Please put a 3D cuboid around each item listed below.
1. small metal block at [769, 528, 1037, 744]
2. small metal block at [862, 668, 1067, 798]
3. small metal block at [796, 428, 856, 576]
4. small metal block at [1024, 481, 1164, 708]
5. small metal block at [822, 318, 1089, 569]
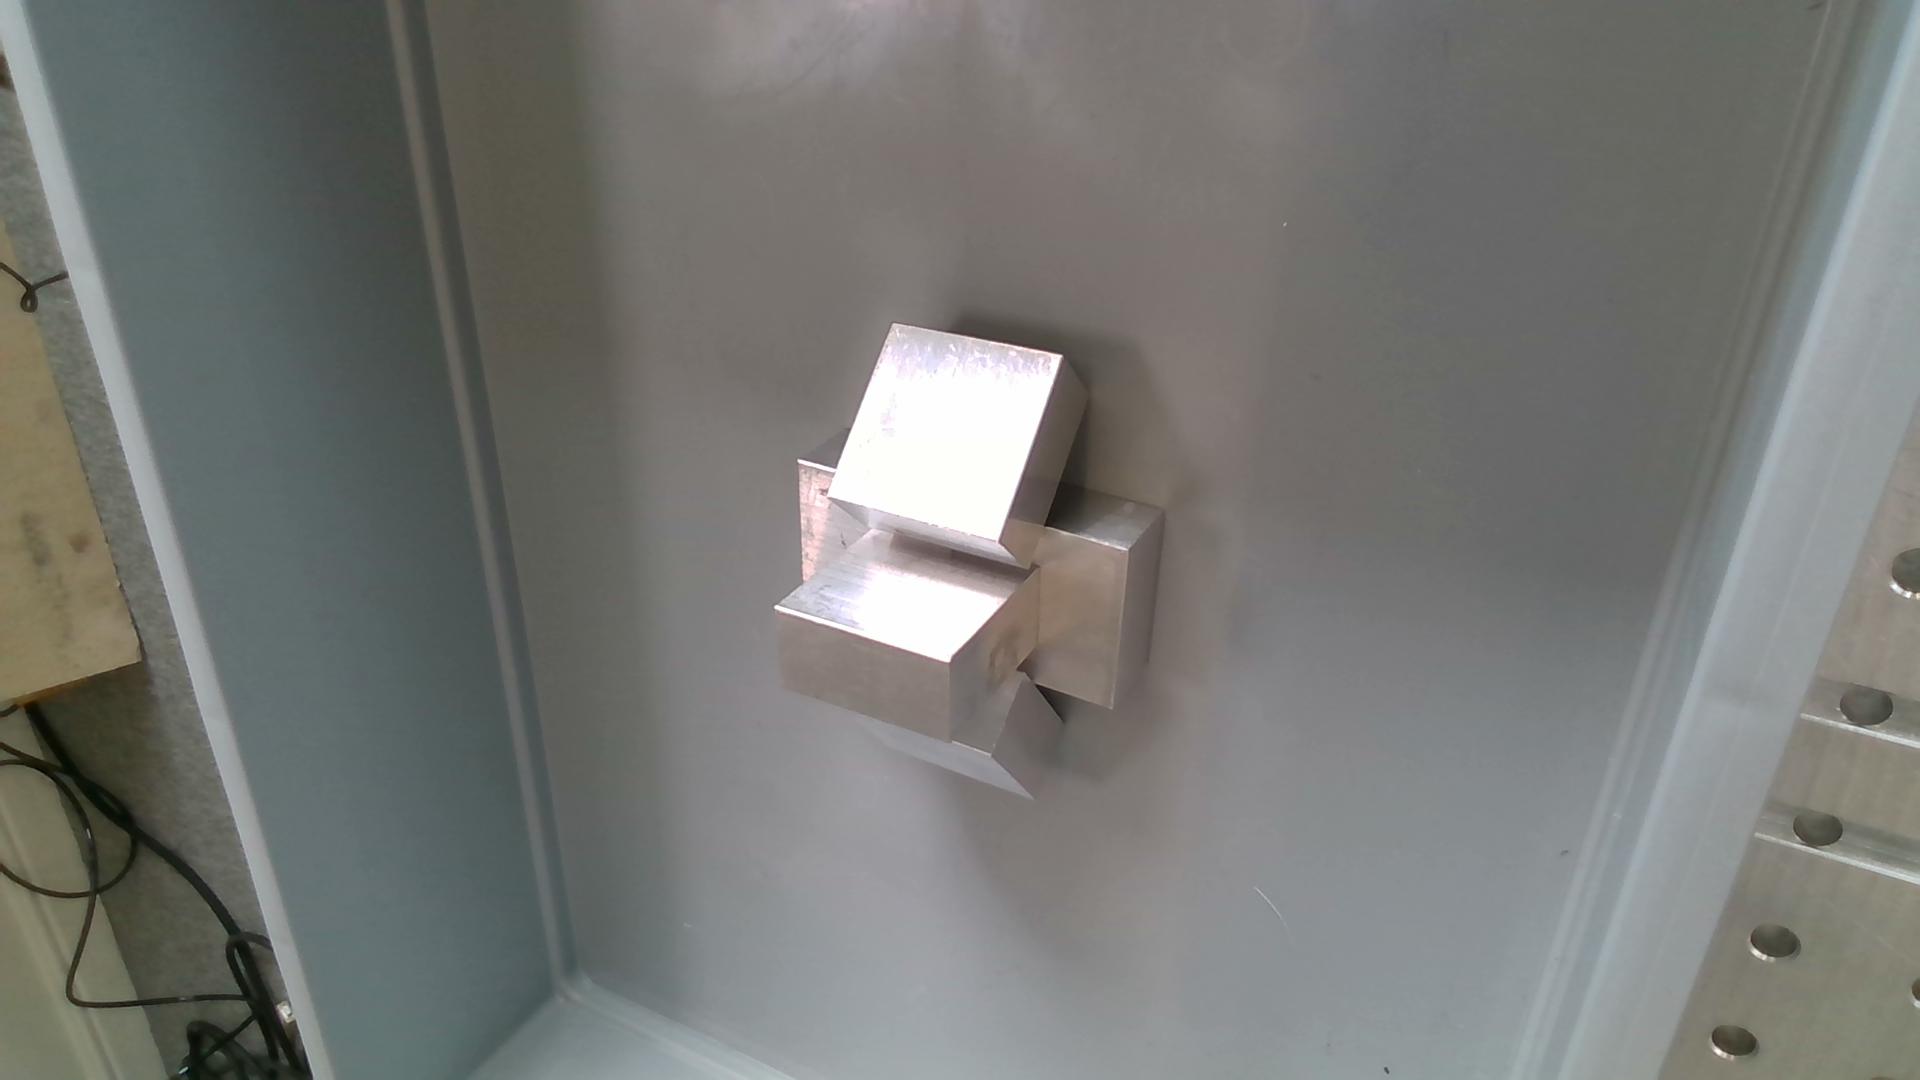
[{"bbox_3d":[-0.014,0.022,0.358,0.050,0.050,0.025,15,122,25],"label":"small metal block"},{"bbox_3d":[-0.002,0.049,0.400,0.050,0.025,0.050,16,162,24],"label":"small metal block"},{"bbox_3d":[-0.019,-0.001,0.398,0.050,0.025,0.050,17,122,23],"label":"small metal block"},{"bbox_3d":[0.025,0.012,0.377,0.050,0.025,0.050,17,123,23],"label":"small metal block"},{"bbox_3d":[-0.001,-0.025,0.356,0.050,0.025,0.050,15,79,25],"label":"small metal block"}]
